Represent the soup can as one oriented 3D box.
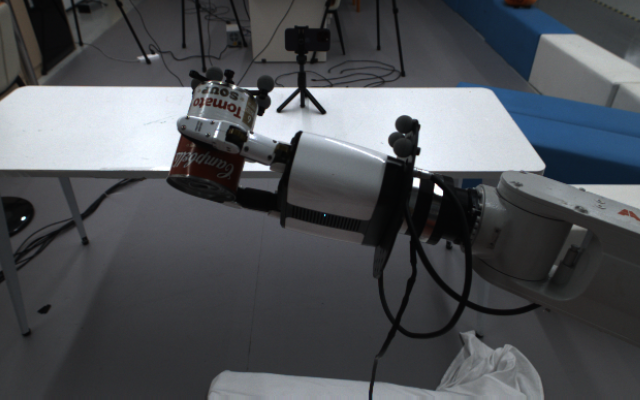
[{"bbox_3d":[-0.103,-0.059,0.480,0.067,0.067,0.101,9,74,9],"label":"soup can"}]
